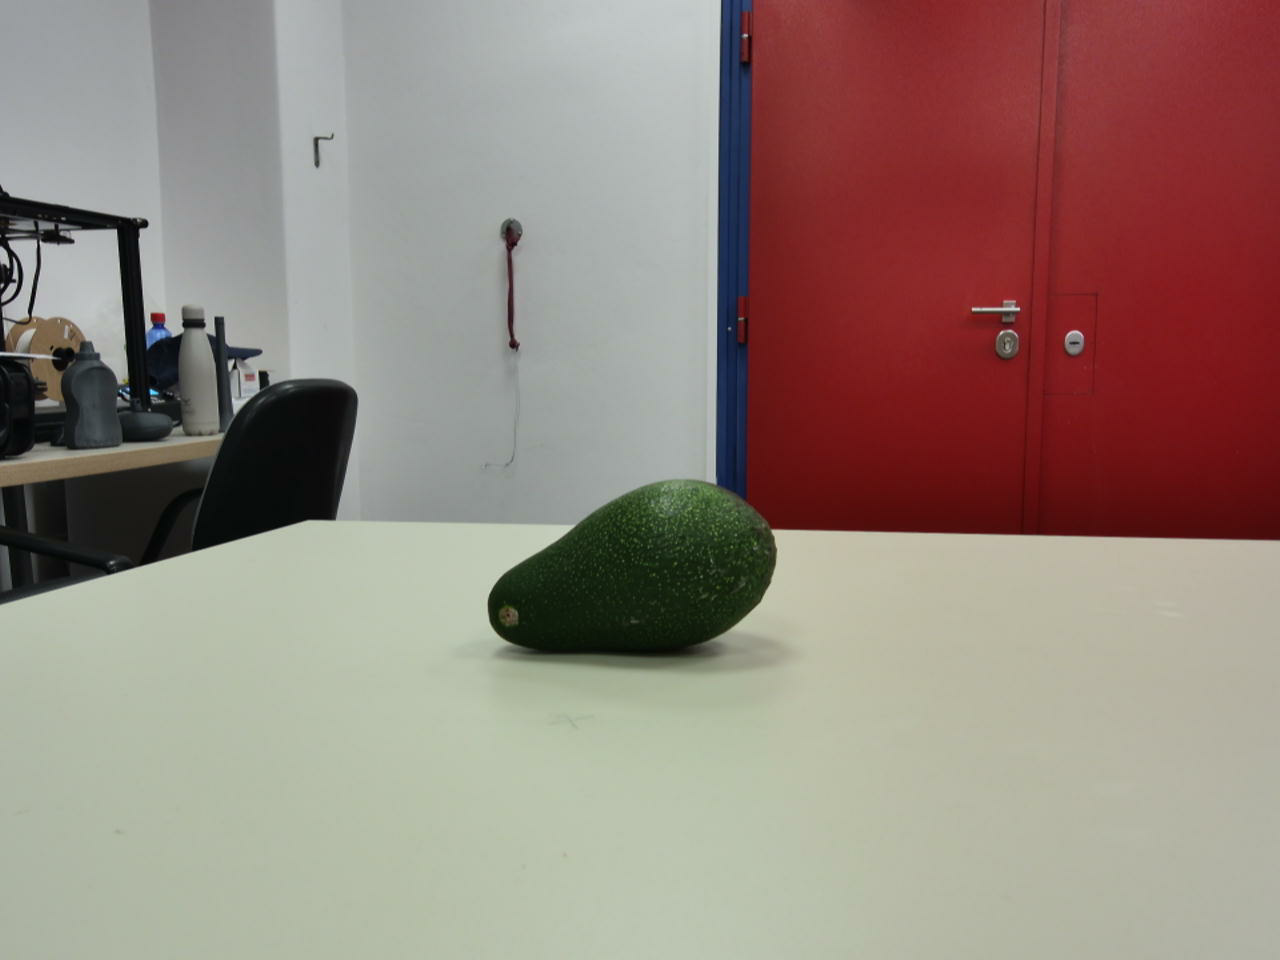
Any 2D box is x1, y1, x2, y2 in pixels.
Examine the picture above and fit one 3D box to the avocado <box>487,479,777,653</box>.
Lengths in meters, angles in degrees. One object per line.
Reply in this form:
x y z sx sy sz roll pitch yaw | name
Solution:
0.000 0.037 0.448 0.123 0.076 0.074 1 4 18 | avocado
